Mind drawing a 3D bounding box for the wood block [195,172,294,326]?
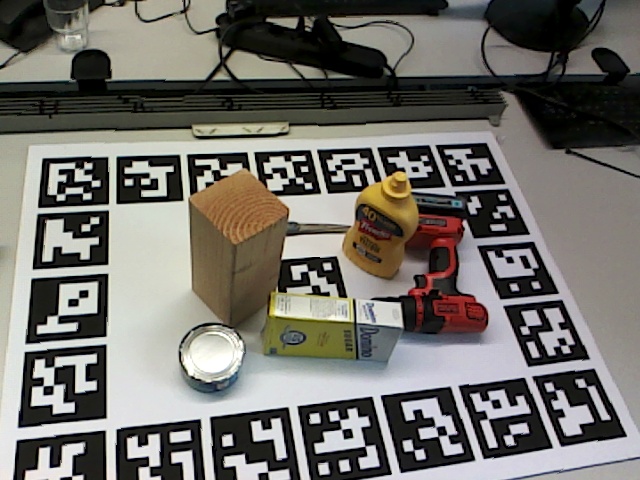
[{"bbox_3d":[-0.106,0.019,0.829,0.090,0.206,0.090,-30,66,-27],"label":"wood block"}]

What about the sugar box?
[{"bbox_3d":[0.026,0.120,0.837,0.176,0.093,0.045,7,51,-7],"label":"sugar box"}]

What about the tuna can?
[{"bbox_3d":[-0.137,0.151,0.818,0.085,0.034,0.086,5,55,-7],"label":"tuna can"}]

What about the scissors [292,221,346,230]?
[{"bbox_3d":[-0.057,-0.019,0.969,0.202,0.016,0.088,-2,51,-11],"label":"scissors"}]

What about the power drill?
[{"bbox_3d":[0.147,0.049,0.928,0.184,0.057,0.187,7,61,-4],"label":"power drill"}]

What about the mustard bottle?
[{"bbox_3d":[0.100,-0.023,0.900,0.096,0.191,0.058,38,58,16],"label":"mustard bottle"}]
